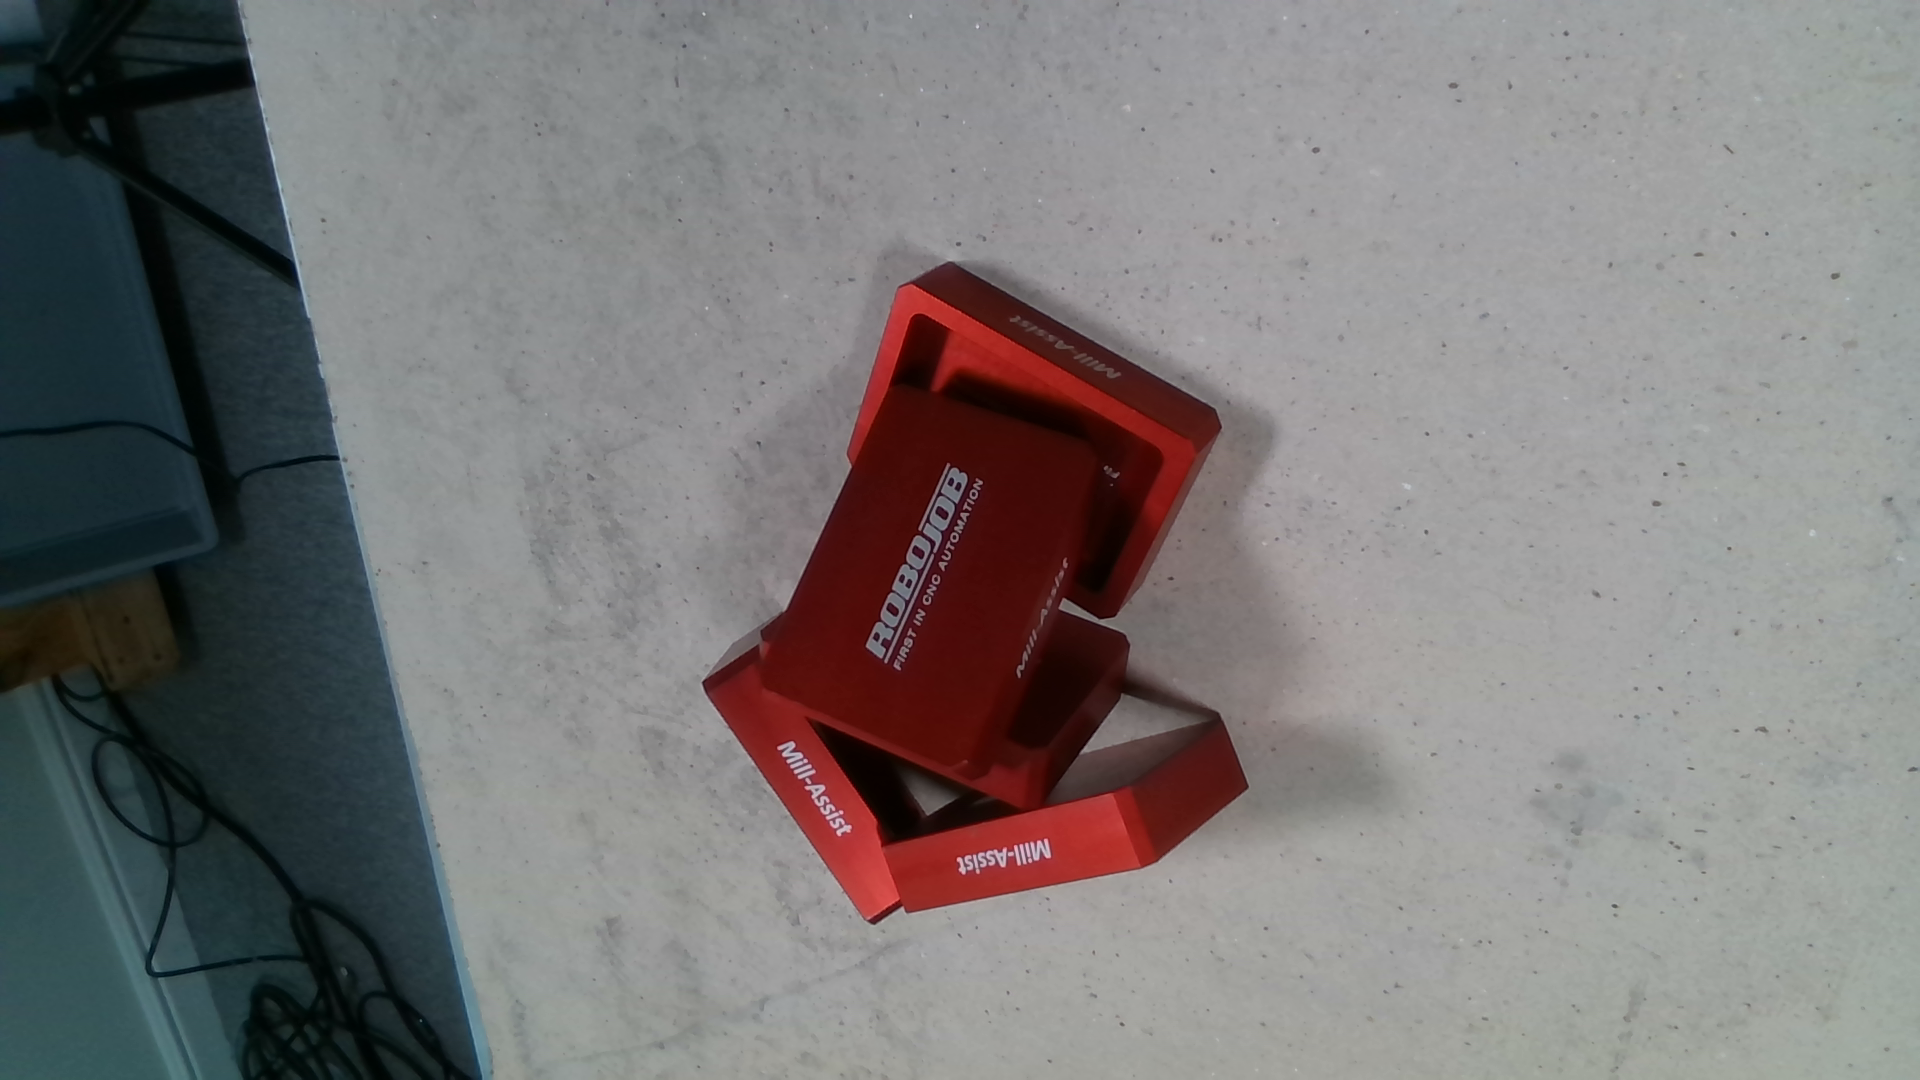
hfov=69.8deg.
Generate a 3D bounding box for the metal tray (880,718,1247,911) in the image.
[{"bbox_3d":[0.042,0.114,0.572,0.130,0.090,0.030,-22,88,38],"label":"metal tray"}]

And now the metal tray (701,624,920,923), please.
[{"bbox_3d":[-0.062,0.100,0.631,0.030,0.090,0.130,-33,96,4],"label":"metal tray"}]

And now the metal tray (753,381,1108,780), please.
[{"bbox_3d":[-0.010,0.014,0.521,0.090,0.030,0.130,20,80,21],"label":"metal tray"}]

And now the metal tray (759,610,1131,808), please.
[{"bbox_3d":[-0.007,0.051,0.571,0.130,0.090,0.030,20,124,22],"label":"metal tray"}]

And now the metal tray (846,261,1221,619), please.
[{"bbox_3d":[0.025,-0.039,0.540,0.130,0.030,0.090,31,127,13],"label":"metal tray"}]
